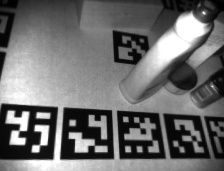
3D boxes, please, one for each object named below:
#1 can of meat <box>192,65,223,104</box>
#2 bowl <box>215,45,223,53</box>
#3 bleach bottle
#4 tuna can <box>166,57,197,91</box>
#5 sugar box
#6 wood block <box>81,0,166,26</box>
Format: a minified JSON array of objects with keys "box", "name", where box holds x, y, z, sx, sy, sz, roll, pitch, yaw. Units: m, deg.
[{"box":[0.261,-0.006,0.540,0.103,0.083,0.057,-23,69,-27],"name":"can of meat"},{"box":[0.275,-0.150,0.628,0.162,0.055,0.161,6,62,-11],"name":"bowl"},{"box":[0.103,-0.066,0.419,0.103,0.250,0.067,-19,69,-23],"name":"bleach bottle"},{"box":[0.174,-0.030,0.545,0.086,0.033,0.085,6,66,-14],"name":"tuna can"},{"box":[0.214,-0.114,0.517,0.093,0.176,0.045,23,62,0],"name":"sugar box"},{"box":[0.028,-0.226,0.571,0.208,0.089,0.090,-2,69,-19],"name":"wood block"}]
